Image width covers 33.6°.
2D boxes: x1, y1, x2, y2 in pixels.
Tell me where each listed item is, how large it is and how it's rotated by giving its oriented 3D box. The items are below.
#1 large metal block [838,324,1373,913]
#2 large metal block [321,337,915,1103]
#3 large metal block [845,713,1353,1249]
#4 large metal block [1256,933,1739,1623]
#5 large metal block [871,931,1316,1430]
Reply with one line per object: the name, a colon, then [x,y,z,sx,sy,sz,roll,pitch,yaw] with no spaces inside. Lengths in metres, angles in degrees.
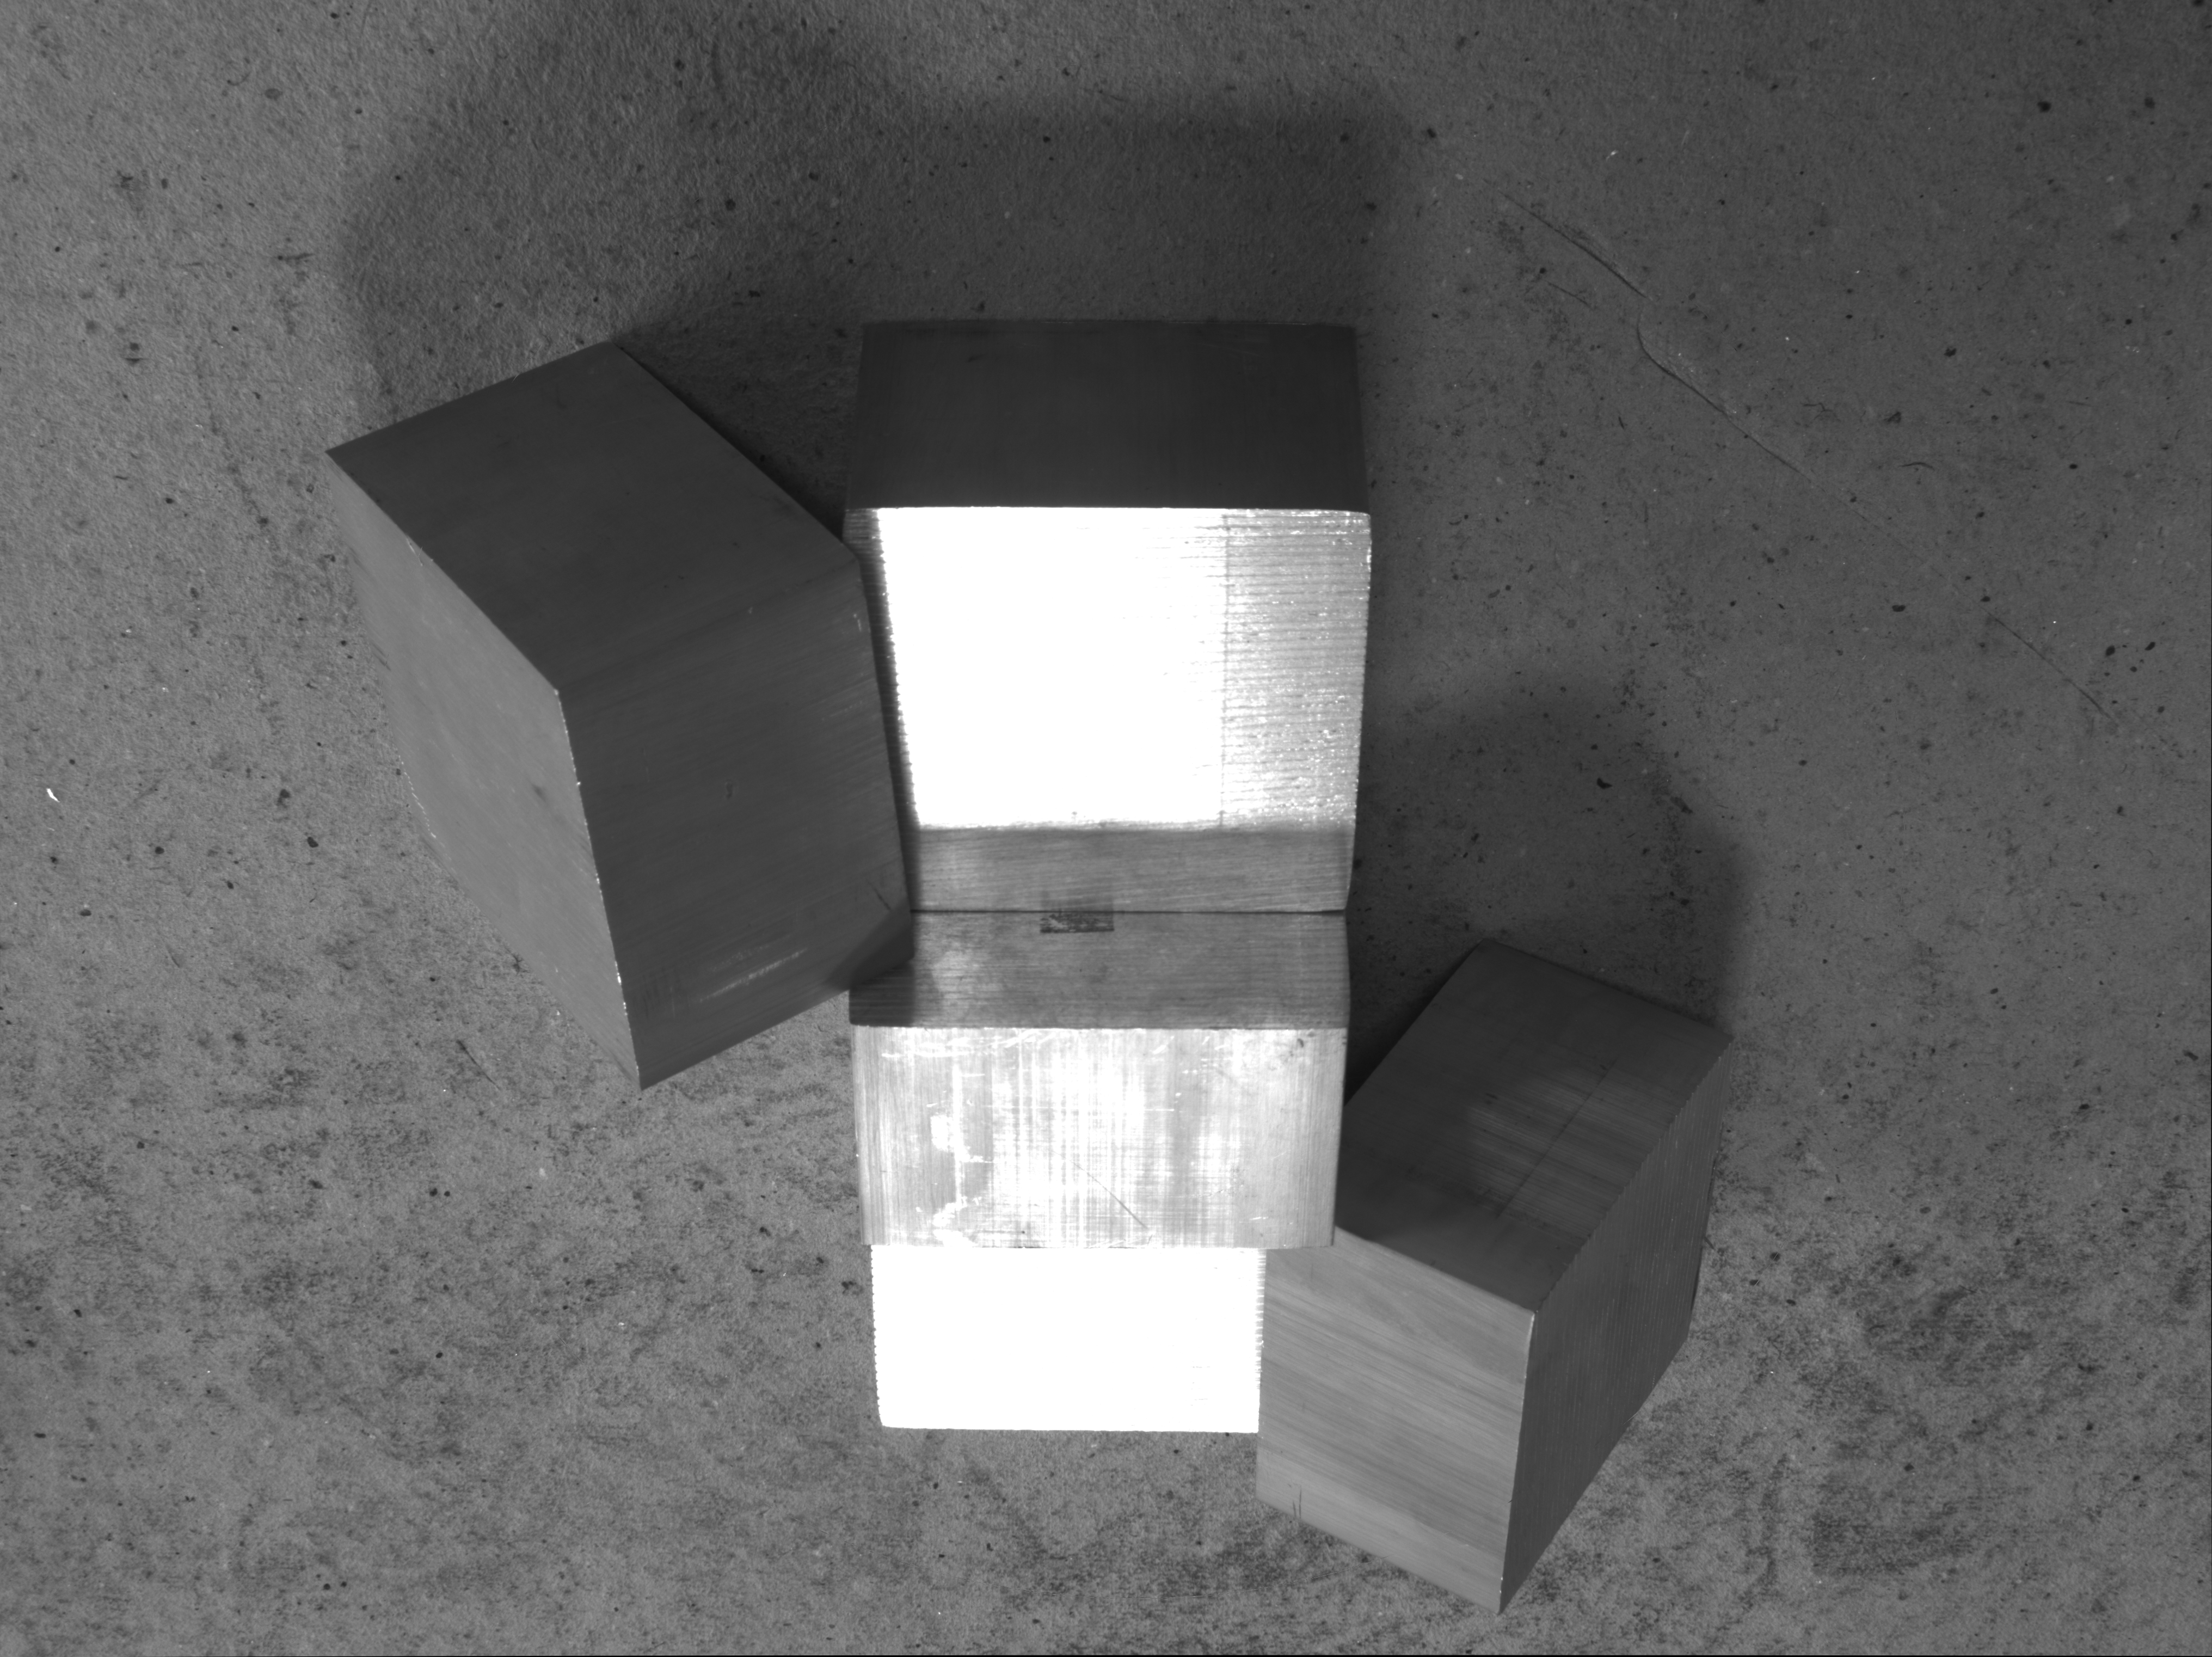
large metal block: [0.000,-0.033,0.593,0.080,0.050,0.080,1,129,0]
large metal block: [-0.076,-0.018,0.579,0.050,0.080,0.080,-26,134,-23]
large metal block: [-0.001,0.025,0.624,0.080,0.080,0.050,0,130,0]
large metal block: [0.070,0.080,0.661,0.050,0.080,0.080,22,134,24]
large metal block: [-0.002,0.065,0.678,0.080,0.050,0.080,1,131,0]
